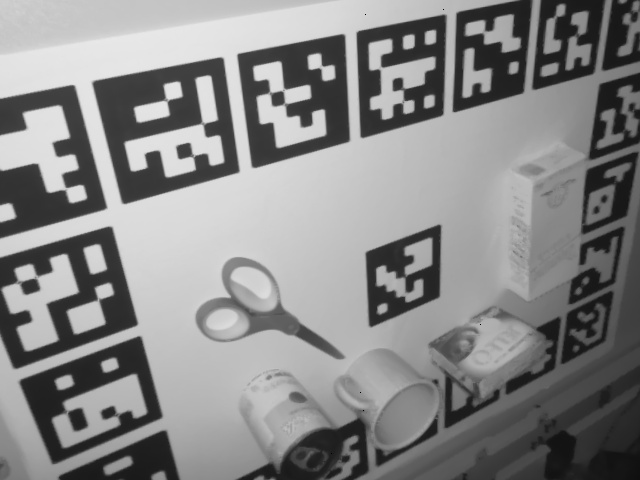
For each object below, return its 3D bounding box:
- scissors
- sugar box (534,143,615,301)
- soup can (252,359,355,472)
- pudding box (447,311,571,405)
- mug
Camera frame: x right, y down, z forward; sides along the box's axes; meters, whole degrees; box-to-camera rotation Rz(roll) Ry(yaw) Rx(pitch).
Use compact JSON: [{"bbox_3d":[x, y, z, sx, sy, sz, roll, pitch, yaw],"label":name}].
[{"bbox_3d":[-0.022,0.071,0.697,0.204,0.015,0.088,36,81,-34],"label":"scissors"},{"bbox_3d":[0.306,-0.019,0.835,0.094,0.045,0.175,-21,118,-23],"label":"sugar box"},{"bbox_3d":[-0.019,0.175,0.702,0.069,0.101,0.067,-13,118,-25],"label":"soup can"},{"bbox_3d":[0.223,0.138,0.819,0.115,0.089,0.038,-26,115,-17],"label":"pudding box"},{"bbox_3d":[0.087,0.177,0.767,0.093,0.081,0.118,-50,127,-5],"label":"mug"}]
